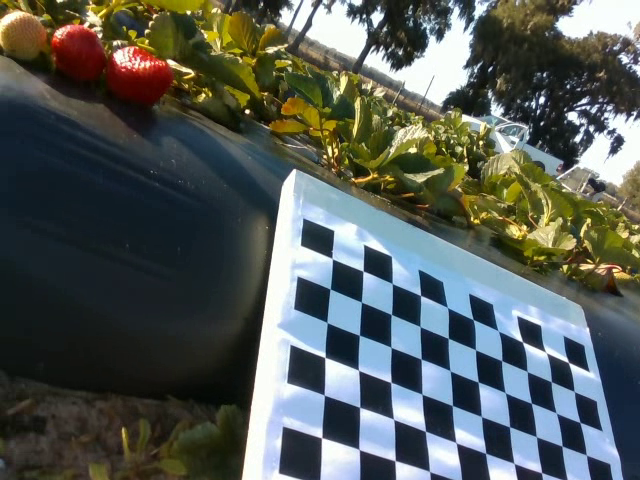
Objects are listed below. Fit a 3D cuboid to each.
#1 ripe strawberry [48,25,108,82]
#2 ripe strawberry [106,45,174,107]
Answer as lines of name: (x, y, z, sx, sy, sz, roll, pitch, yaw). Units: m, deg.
ripe strawberry: (-0.180, -0.138, 0.470, 0.050, 0.044, 0.061, 43, -1, -5)
ripe strawberry: (-0.132, -0.122, 0.487, 0.067, 0.052, 0.056, 4, 24, 39)
